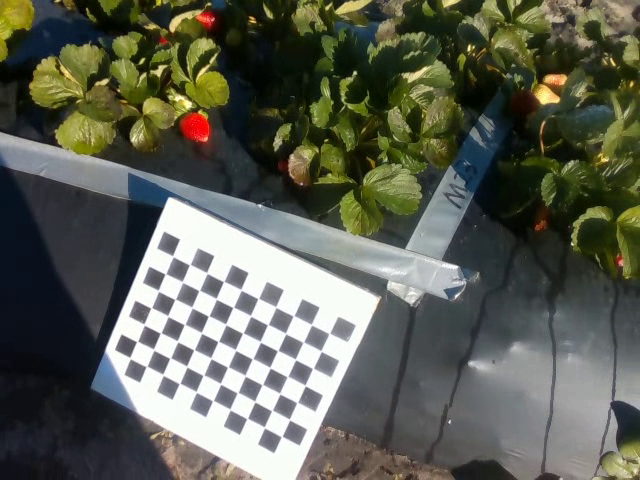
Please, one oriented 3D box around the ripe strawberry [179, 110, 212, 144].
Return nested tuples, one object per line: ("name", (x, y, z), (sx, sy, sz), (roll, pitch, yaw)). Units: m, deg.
("ripe strawberry", (-0.169, -0.152, 0.852), (0.045, 0.059, 0.042), (-38, -22, 9))
